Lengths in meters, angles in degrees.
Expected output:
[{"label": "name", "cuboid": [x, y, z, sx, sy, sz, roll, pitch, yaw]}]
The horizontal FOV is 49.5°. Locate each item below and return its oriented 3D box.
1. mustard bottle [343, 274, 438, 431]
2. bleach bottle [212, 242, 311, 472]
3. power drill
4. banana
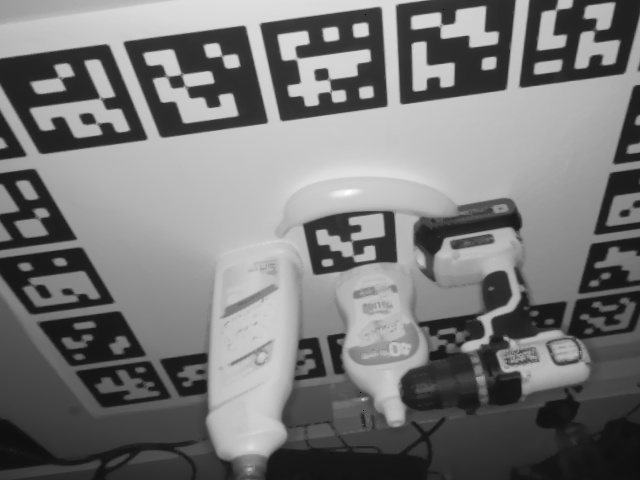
[{"label": "mustard bottle", "cuboid": [0.078, 0.124, 0.764, 0.096, 0.193, 0.058, -6, 133, 3]}, {"label": "bleach bottle", "cuboid": [-0.057, 0.115, 0.713, 0.102, 0.252, 0.067, -14, 131, 8]}, {"label": "power drill", "cuboid": [0.172, 0.079, 0.706, 0.184, 0.188, 0.057, -8, 140, 6]}, {"label": "banana", "cuboid": [0.050, -0.029, 0.722, 0.198, 0.039, 0.073, -7, 129, -2]}]
